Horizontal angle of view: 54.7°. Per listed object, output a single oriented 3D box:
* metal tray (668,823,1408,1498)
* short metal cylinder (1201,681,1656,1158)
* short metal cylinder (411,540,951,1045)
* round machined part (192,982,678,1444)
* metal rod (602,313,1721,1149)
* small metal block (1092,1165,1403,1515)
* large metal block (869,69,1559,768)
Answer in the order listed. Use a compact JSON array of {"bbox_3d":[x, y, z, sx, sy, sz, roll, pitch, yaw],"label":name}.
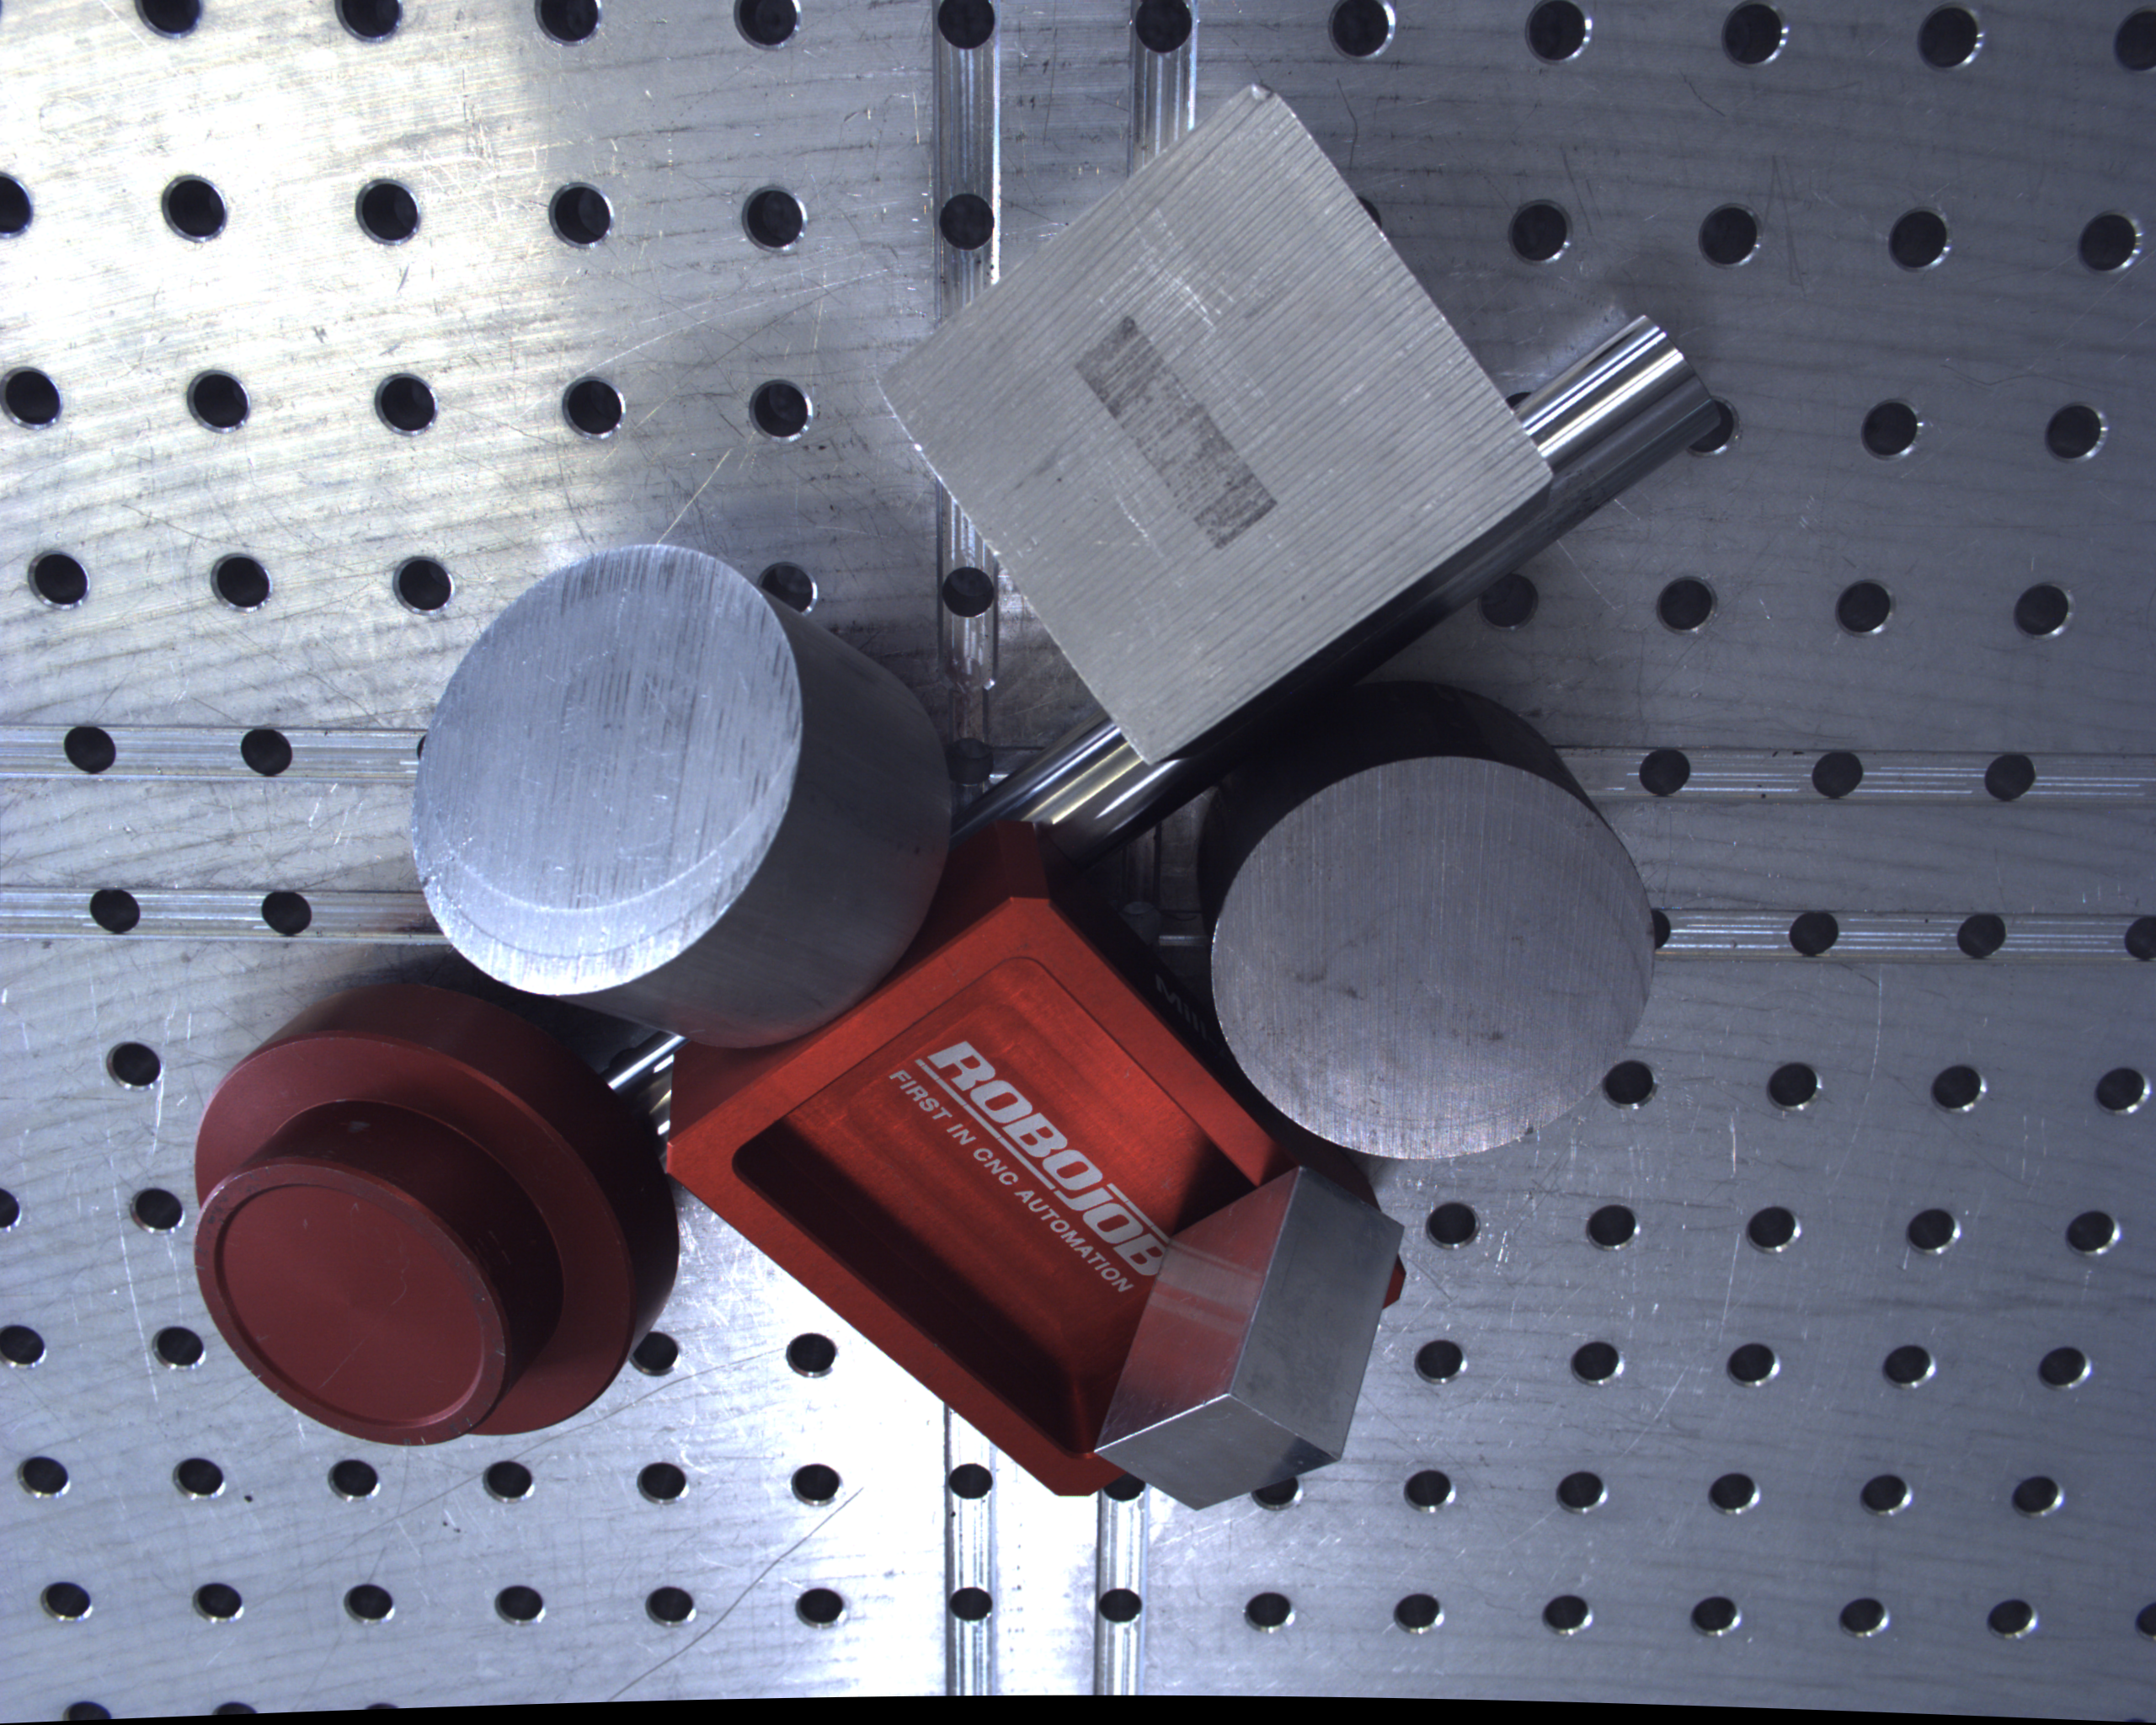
[{"bbox_3d":[-0.006,0.064,0.419,0.090,0.030,0.130,-36,119,12],"label":"metal tray"},{"bbox_3d":[0.065,0.010,0.404,0.081,0.050,0.079,0,110,0],"label":"short metal cylinder"},{"bbox_3d":[-0.070,-0.011,0.373,0.080,0.050,0.080,-7,72,24],"label":"short metal cylinder"},{"bbox_3d":[-0.134,0.076,0.417,0.098,0.042,0.097,7,117,14],"label":"round machined part"},{"bbox_3d":[-0.009,-0.005,0.413,0.300,0.025,0.025,-35,107,12],"label":"metal rod"},{"bbox_3d":[0.033,0.093,0.403,0.025,0.050,0.050,32,142,-13],"label":"small metal block"},{"bbox_3d":[0.025,-0.073,0.361,0.080,0.050,0.080,-35,87,12],"label":"large metal block"}]
